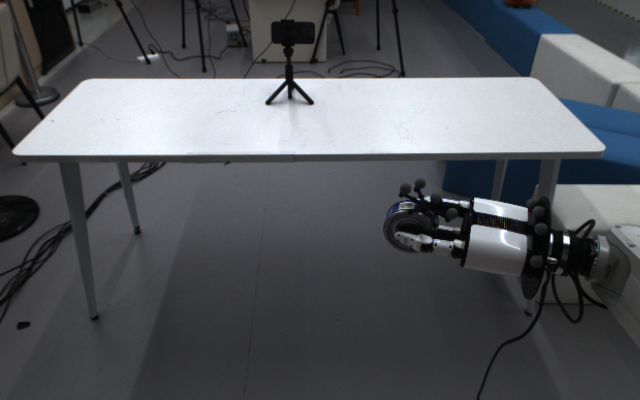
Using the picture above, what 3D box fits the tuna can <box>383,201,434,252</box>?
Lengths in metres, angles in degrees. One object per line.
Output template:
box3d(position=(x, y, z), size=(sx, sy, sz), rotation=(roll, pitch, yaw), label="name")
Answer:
box3d(position=(0.148, 0.049, 0.771), size=(0.085, 0.085, 0.034), rotation=(12, 35, 14), label="tuna can")
